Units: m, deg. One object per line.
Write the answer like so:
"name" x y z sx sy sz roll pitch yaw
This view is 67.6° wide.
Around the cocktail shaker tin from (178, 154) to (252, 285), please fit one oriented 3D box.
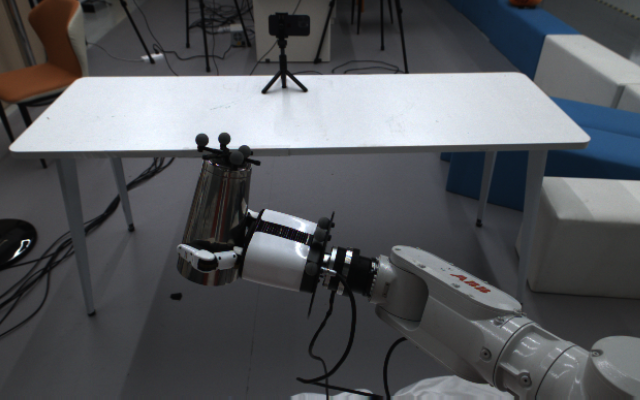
"cocktail shaker tin" -0.144 0.024 0.682 0.093 0.170 0.093 13 21 -5
